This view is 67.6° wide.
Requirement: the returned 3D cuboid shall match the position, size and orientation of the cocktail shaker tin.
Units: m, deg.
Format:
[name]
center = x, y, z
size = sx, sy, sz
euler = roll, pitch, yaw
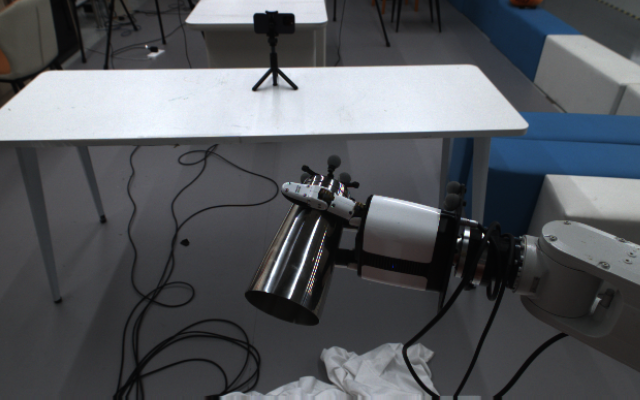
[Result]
[cocktail shaker tin]
center = -0.018, 0.053, 0.595
size = 0.093, 0.093, 0.170
euler = 13, 59, 16
